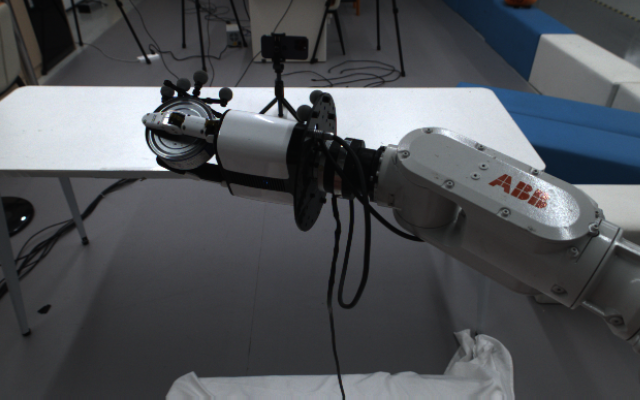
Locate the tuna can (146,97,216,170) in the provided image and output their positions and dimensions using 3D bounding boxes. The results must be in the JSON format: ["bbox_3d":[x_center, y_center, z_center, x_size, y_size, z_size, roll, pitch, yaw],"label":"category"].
[{"bbox_3d":[-0.166,-0.081,0.592,0.085,0.034,0.085,-3,68,8],"label":"tuna can"}]
